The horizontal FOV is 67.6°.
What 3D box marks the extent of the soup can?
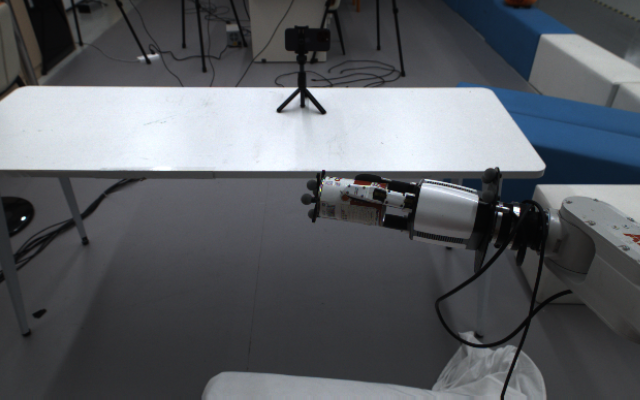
[{"bbox_3d":[0.054,0.002,0.753,0.101,0.067,0.067,7,35,10],"label":"soup can"}]
